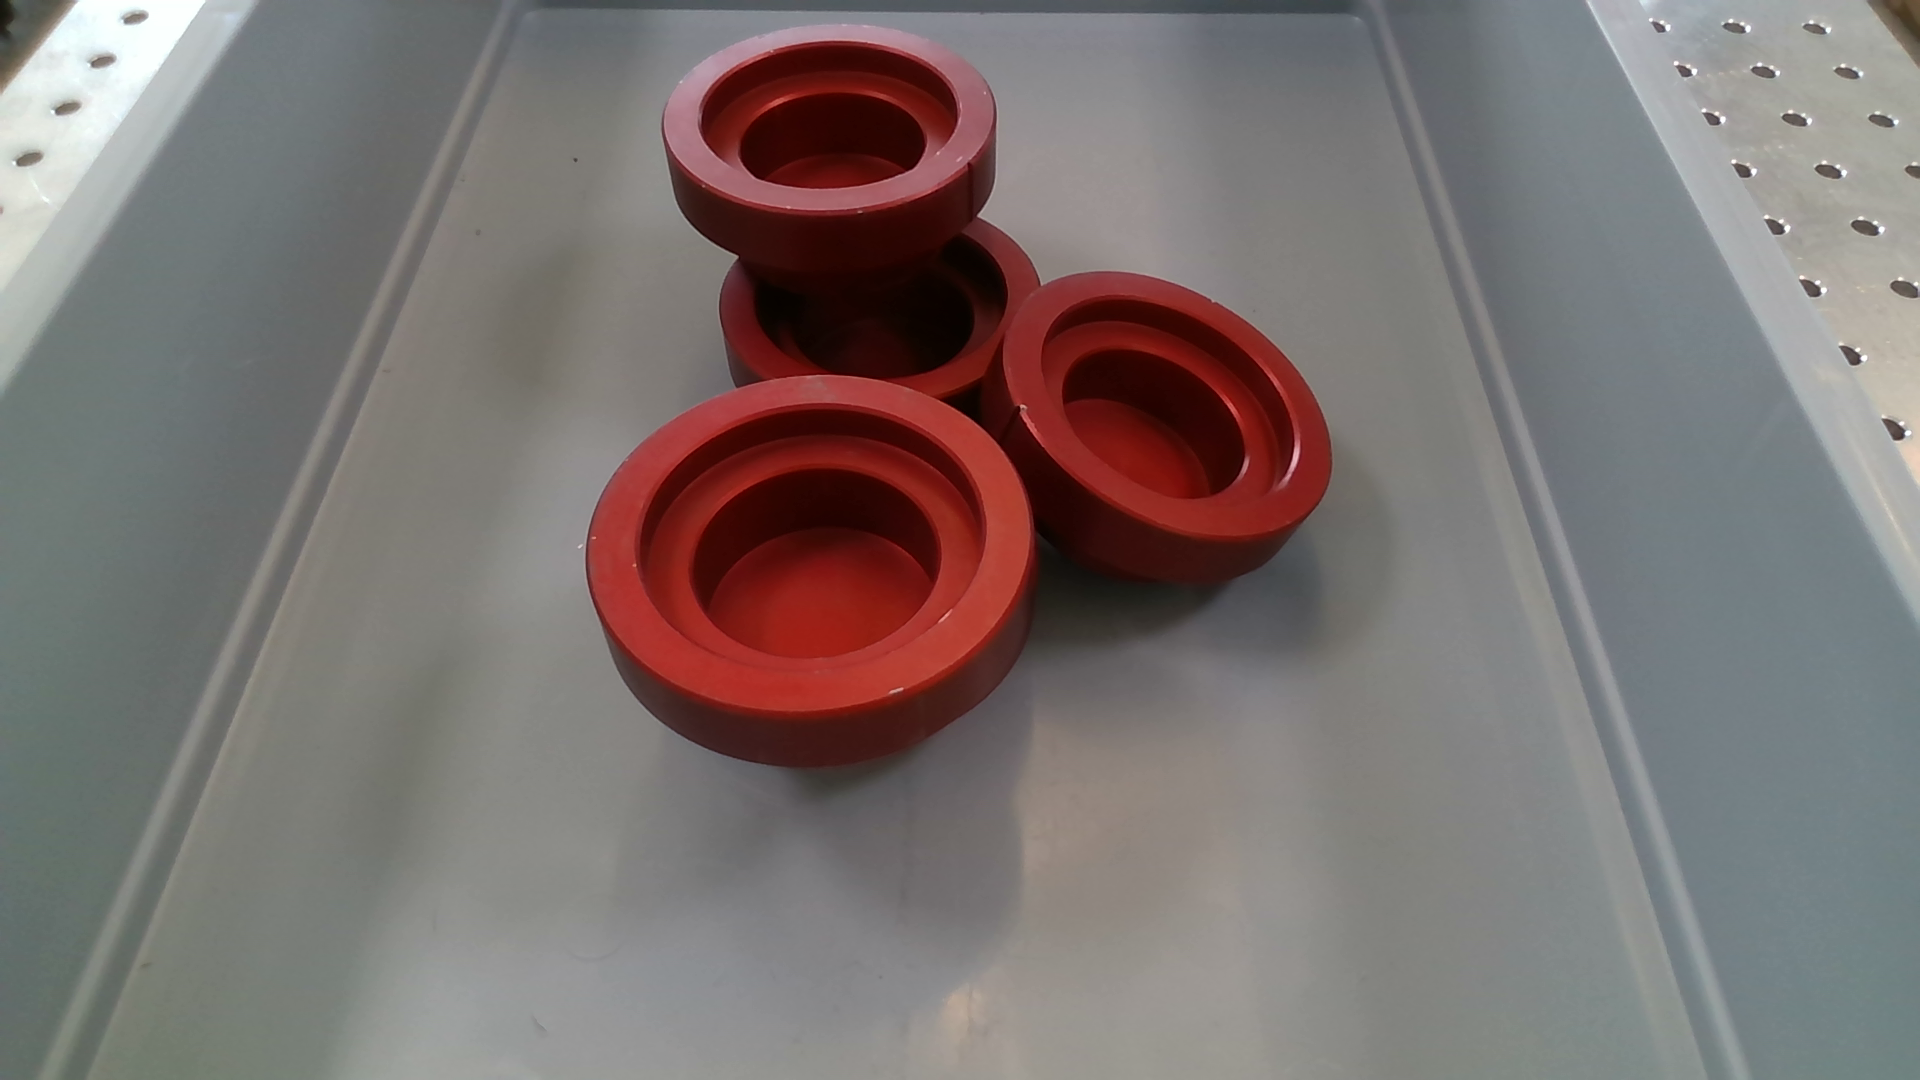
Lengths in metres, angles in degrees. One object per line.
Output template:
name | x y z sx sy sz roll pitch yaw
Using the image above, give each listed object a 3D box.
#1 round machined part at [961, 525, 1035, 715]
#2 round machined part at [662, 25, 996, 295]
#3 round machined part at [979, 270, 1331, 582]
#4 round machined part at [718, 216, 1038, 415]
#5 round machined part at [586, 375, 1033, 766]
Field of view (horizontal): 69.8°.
round machined part | -0.029 0.015 0.370 0.098 0.042 0.098 0 50 0
round machined part | -0.038 -0.113 0.421 0.098 0.042 0.098 0 50 0
round machined part | 0.051 -0.028 0.391 0.098 0.042 0.098 11 50 -14
round machined part | -0.024 -0.062 0.433 0.098 0.042 0.098 0 50 0
round machined part | -0.033 0.010 0.319 0.098 0.042 0.098 0 50 0
